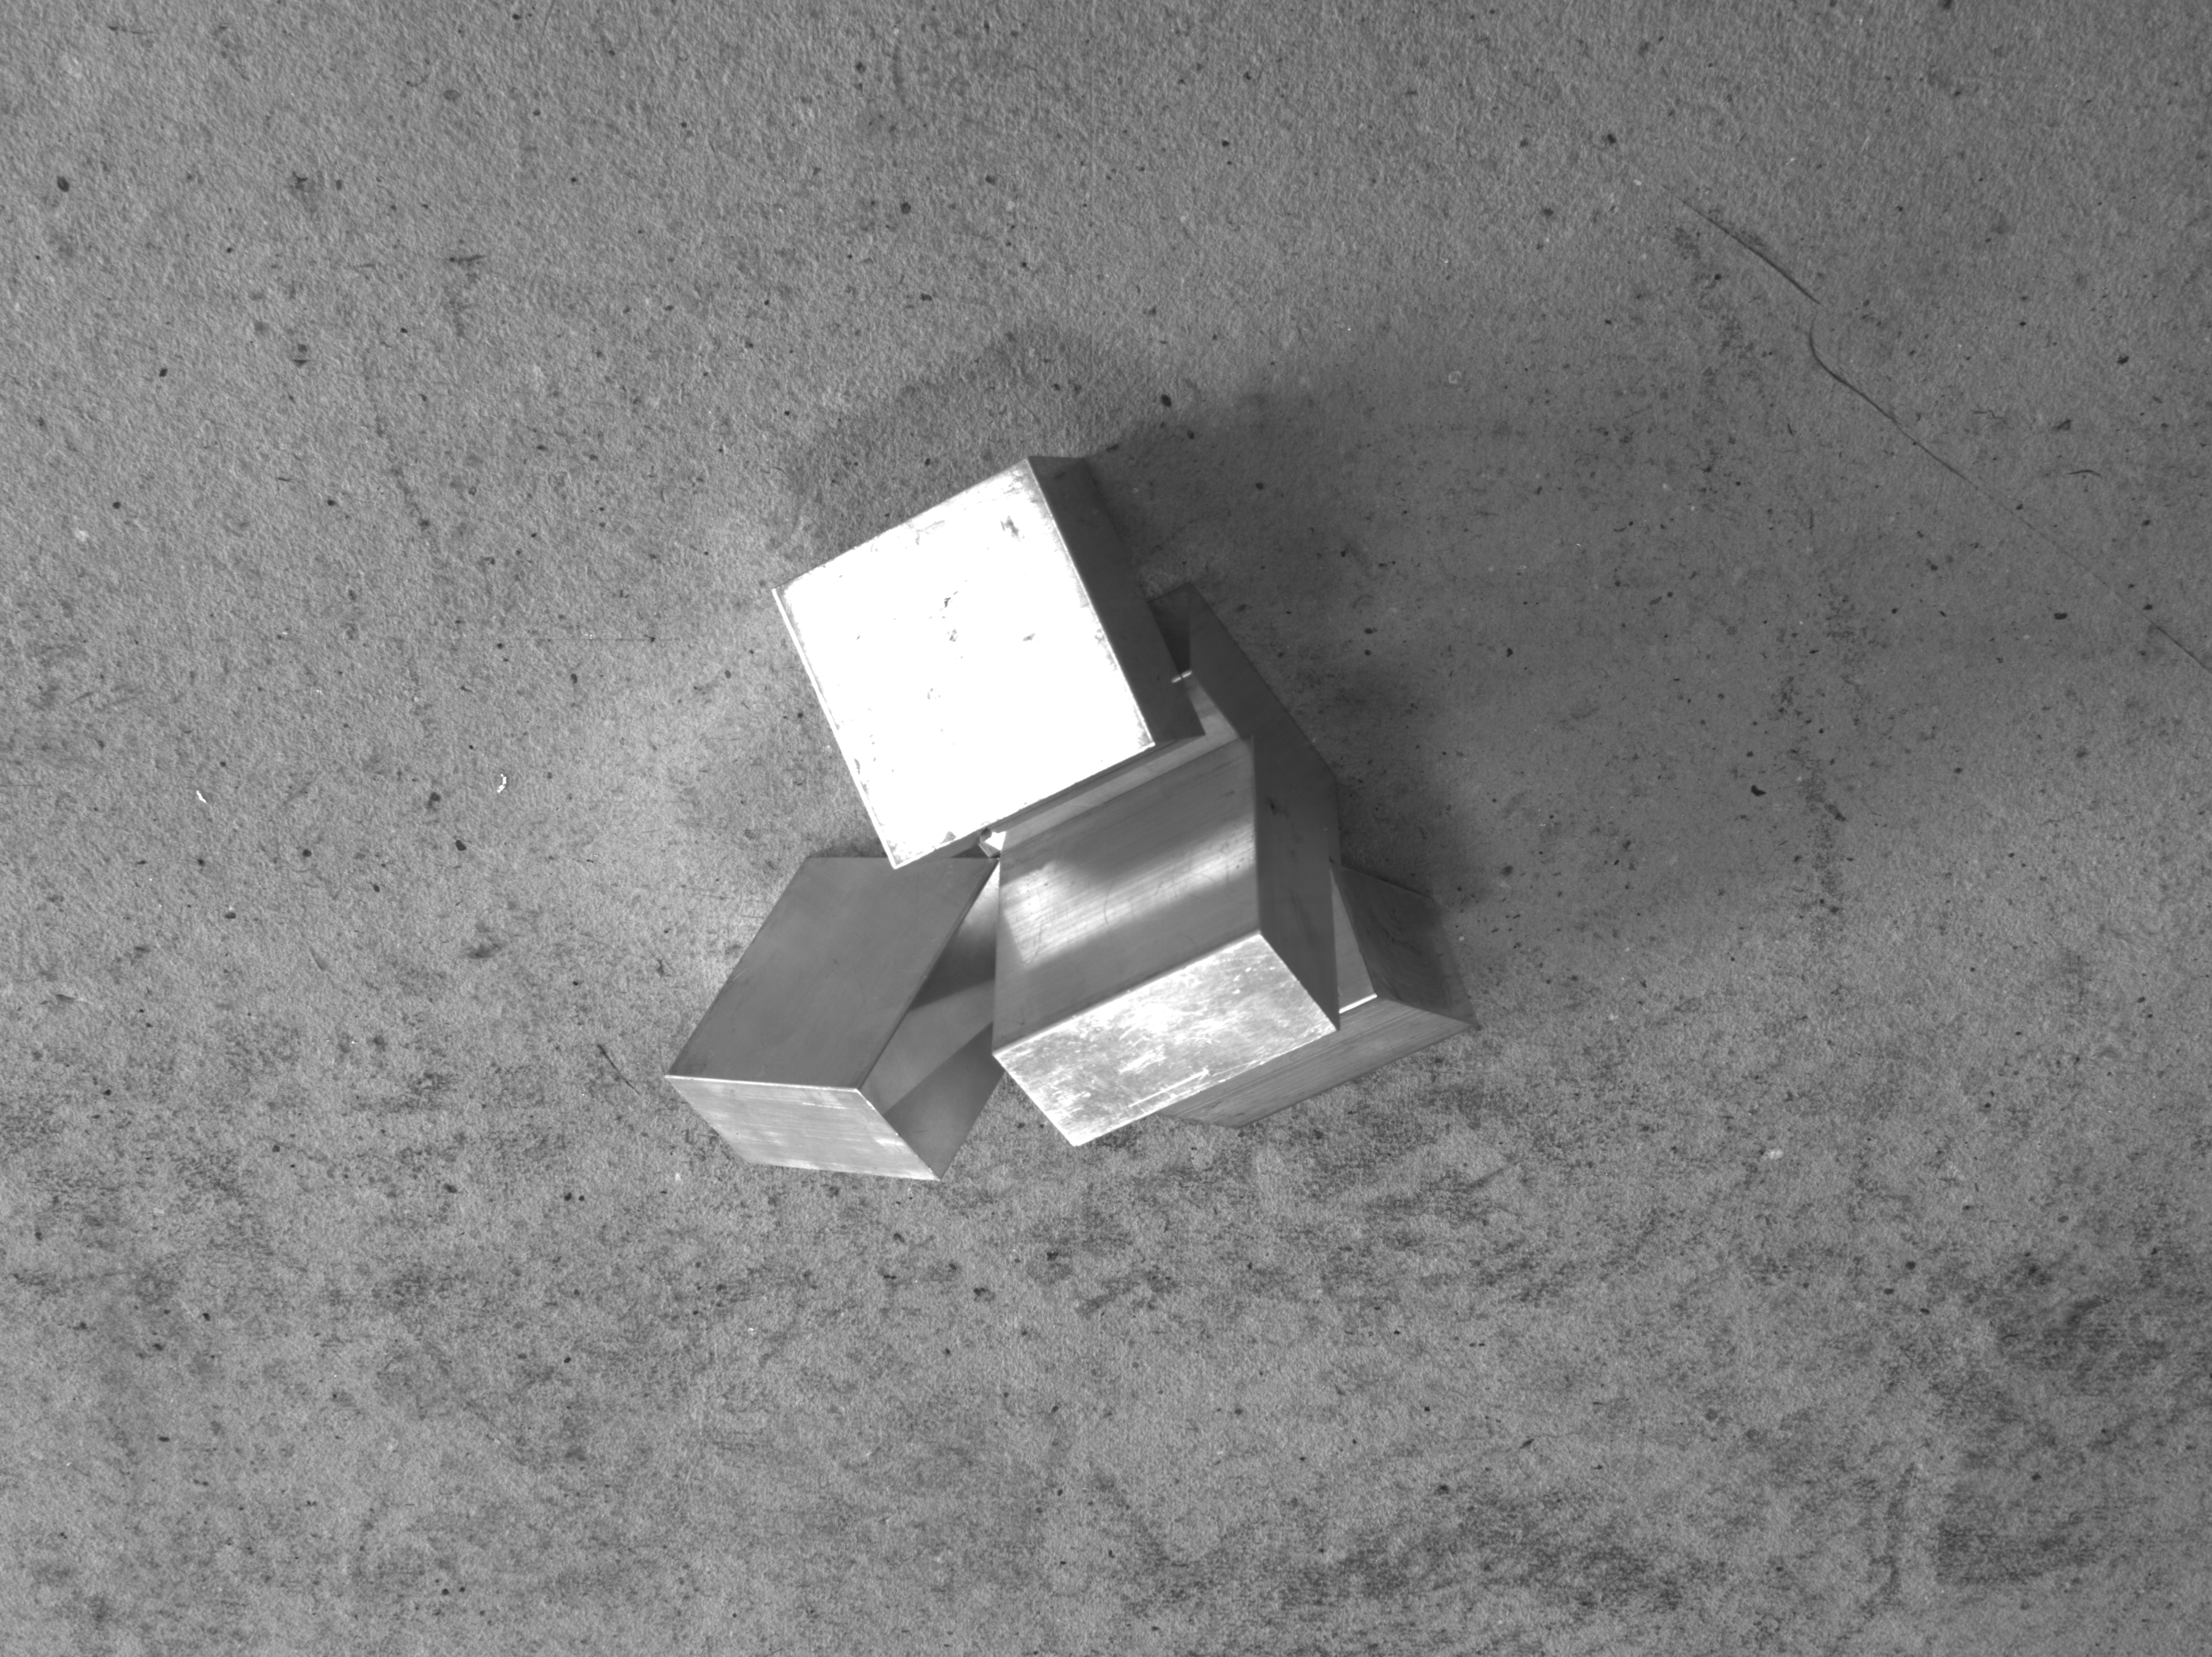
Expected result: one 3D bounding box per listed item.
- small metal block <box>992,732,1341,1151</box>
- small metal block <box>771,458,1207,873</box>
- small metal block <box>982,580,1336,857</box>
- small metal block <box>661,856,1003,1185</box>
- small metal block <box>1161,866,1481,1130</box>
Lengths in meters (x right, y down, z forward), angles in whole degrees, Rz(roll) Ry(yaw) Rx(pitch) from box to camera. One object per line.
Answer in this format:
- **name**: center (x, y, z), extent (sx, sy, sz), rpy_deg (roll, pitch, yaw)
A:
- **small metal block**: center (0.010, 0.018, 0.606), extent (0.050, 0.050, 0.025), rpy_deg (-25, 126, 20)
- **small metal block**: center (-0.019, -0.027, 0.601), extent (0.050, 0.025, 0.050), rpy_deg (-25, 86, 20)
- **small metal block**: center (0.005, -0.008, 0.633), extent (0.050, 0.025, 0.050), rpy_deg (-24, 126, 22)
- **small metal block**: center (-0.041, 0.032, 0.638), extent (0.050, 0.050, 0.025), rpy_deg (1, 140, 44)
- **small metal block**: center (0.031, 0.031, 0.649), extent (0.050, 0.025, 0.050), rpy_deg (-25, 162, 20)
